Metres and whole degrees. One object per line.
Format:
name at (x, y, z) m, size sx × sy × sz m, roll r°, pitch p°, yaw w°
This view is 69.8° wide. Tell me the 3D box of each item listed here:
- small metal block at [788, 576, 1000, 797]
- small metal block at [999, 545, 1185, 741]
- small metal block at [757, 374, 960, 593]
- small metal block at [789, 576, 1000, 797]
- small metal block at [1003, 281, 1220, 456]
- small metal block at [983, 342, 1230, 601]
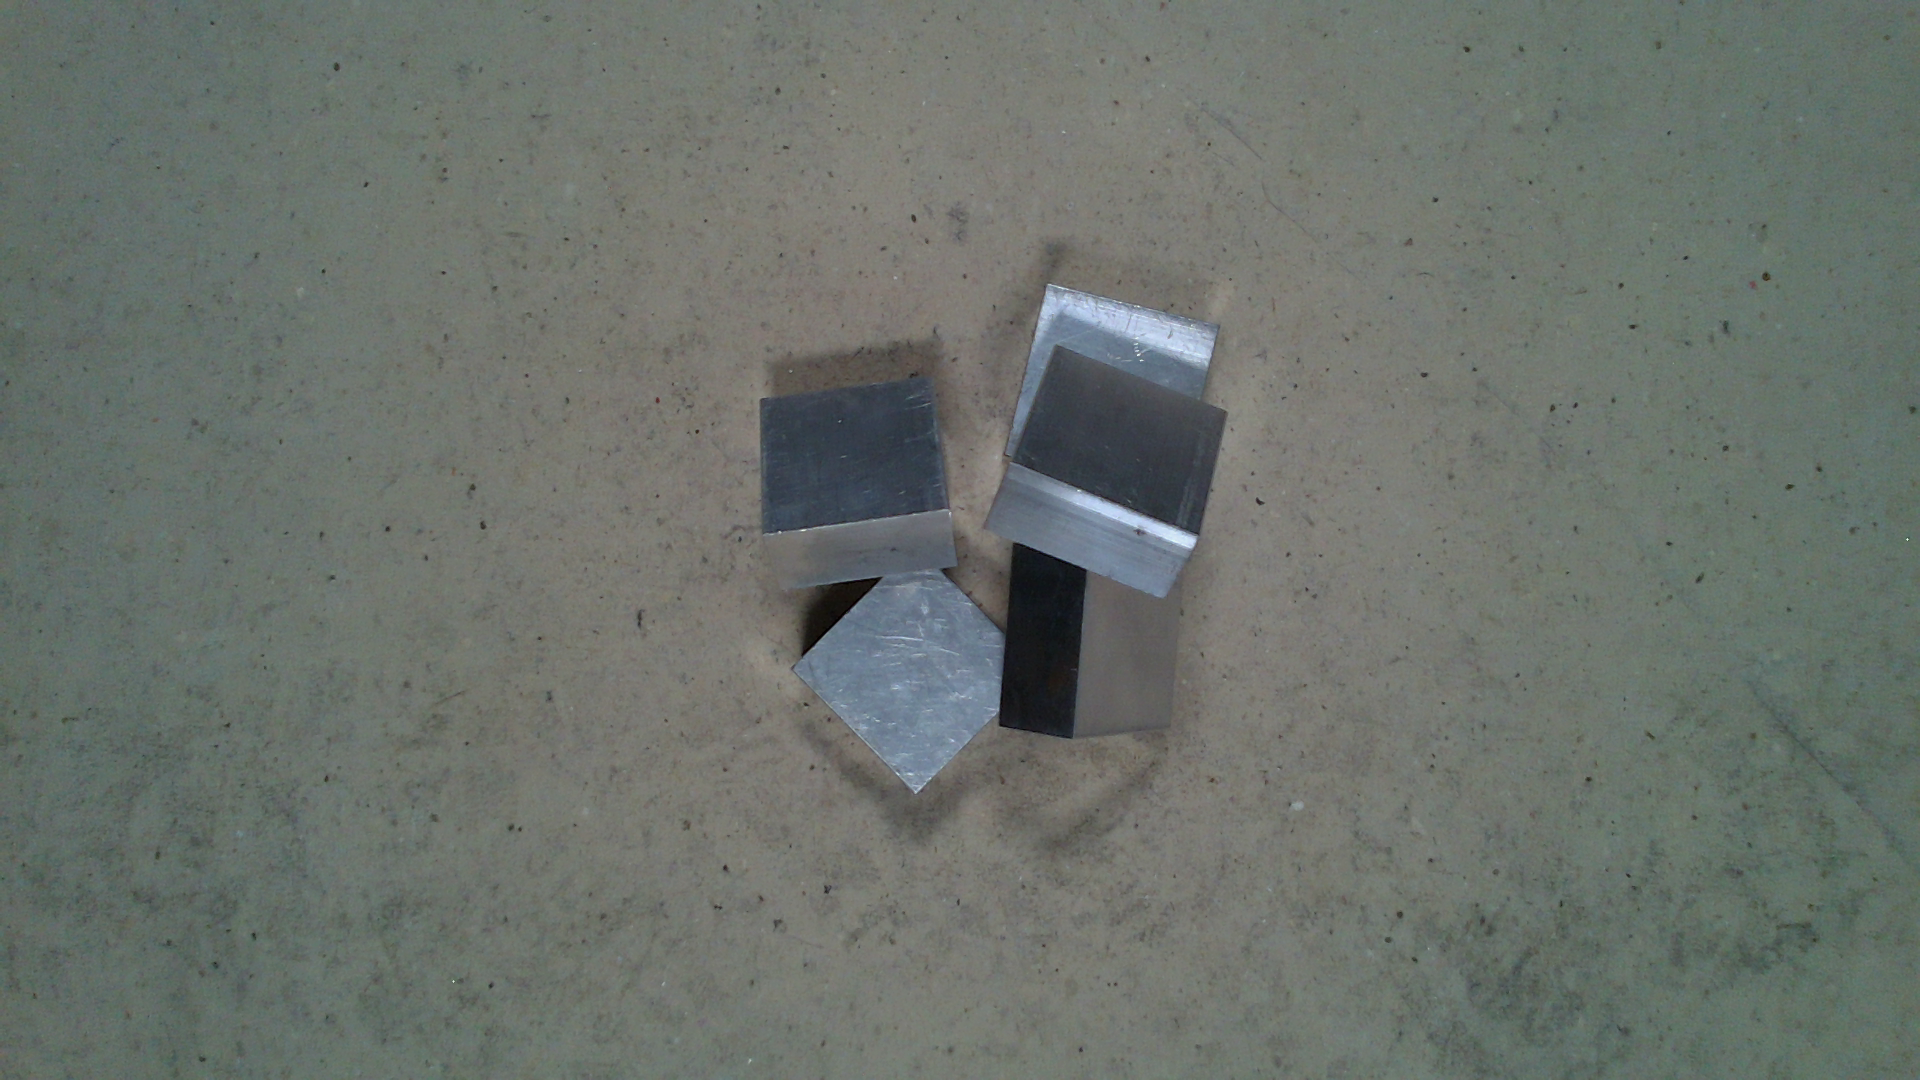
small metal block at (-0.013, 0.036, 0.396) m, size 0.050 × 0.025 × 0.050 m, roll -45°, pitch 90°, yaw 0°
small metal block at (0.038, 0.027, 0.381) m, size 0.025 × 0.050 × 0.050 m, roll 4°, pitch 90°, yaw 38°
small metal block at (-0.029, -0.016, 0.383) m, size 0.050 × 0.025 × 0.050 m, roll -8°, pitch 53°, yaw 0°
small metal block at (-0.012, 0.036, 0.396) m, size 0.050 × 0.025 × 0.050 m, roll -45°, pitch 90°, yaw 0°
small metal block at (0.042, -0.042, 0.396) m, size 0.050 × 0.025 × 0.050 m, roll 14°, pitch 90°, yaw 0°
small metal block at (0.039, -0.018, 0.357) m, size 0.050 × 0.025 × 0.050 m, roll 21°, pitch 47°, yaw 0°
